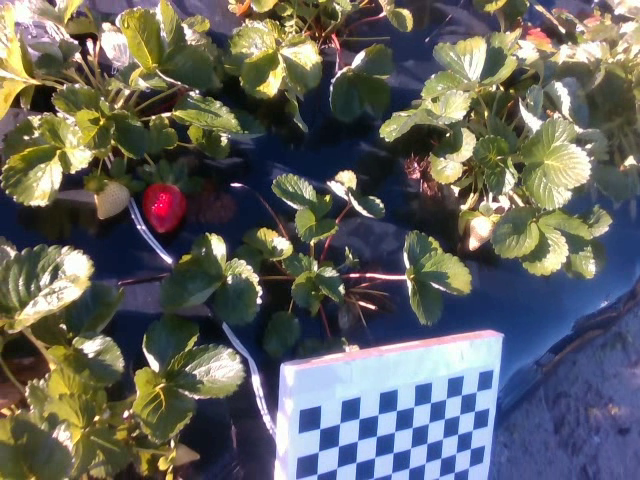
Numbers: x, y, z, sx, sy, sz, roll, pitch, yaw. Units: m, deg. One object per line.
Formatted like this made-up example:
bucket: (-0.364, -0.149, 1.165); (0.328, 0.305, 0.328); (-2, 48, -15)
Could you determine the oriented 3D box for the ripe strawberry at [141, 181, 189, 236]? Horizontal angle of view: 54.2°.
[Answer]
ripe strawberry: (-0.172, -0.040, 0.705); (0.040, 0.080, 0.062); (-33, -49, 30)
